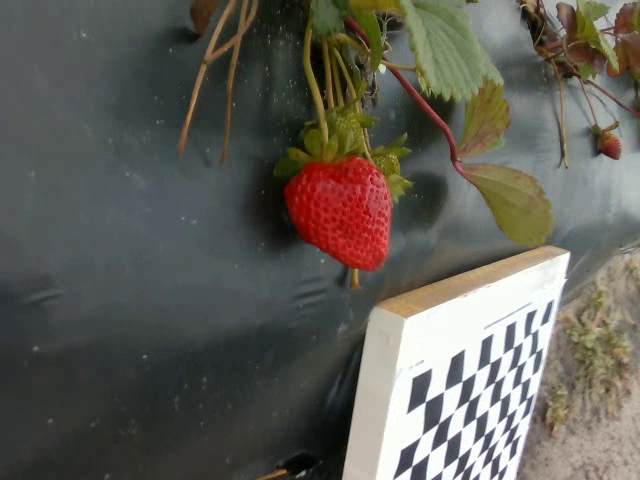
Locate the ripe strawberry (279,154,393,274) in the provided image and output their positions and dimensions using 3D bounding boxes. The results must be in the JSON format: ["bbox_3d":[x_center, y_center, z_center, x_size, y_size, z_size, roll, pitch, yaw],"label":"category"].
[{"bbox_3d":[0.005,-0.003,0.078,0.014,0.017,0.018,-32,-10,21],"label":"ripe strawberry"}]
